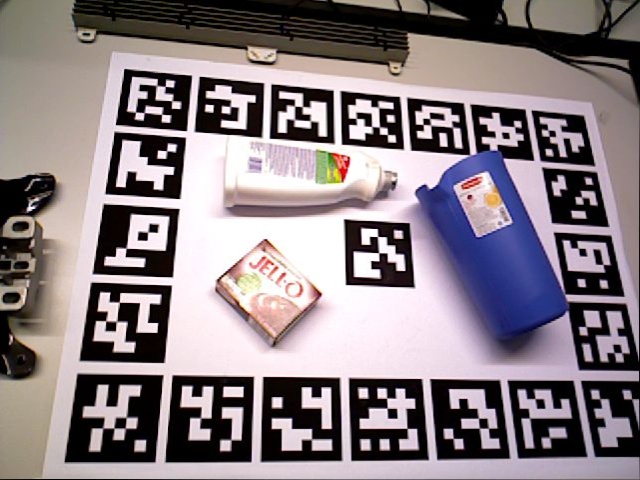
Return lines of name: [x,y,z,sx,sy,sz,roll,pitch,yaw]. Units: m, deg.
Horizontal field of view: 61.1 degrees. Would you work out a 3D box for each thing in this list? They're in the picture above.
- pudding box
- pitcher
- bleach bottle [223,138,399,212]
pudding box: [-0.067,0.073,0.701,0.114,0.039,0.088,46,62,6]
pitcher: [0.249,0.022,0.754,0.185,0.136,0.242,-10,73,-51]
bleach bottle: [-0.009,-0.087,0.764,0.248,0.069,0.102,1,73,-12]
